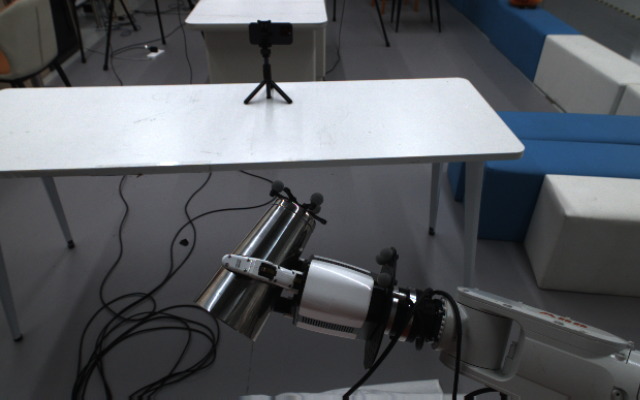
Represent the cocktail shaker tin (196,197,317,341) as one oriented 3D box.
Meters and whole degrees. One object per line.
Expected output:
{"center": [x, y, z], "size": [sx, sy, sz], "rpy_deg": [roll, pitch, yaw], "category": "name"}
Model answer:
{"center": [-0.075, 0.081, 0.628], "size": [0.093, 0.093, 0.170], "rpy_deg": [22, 67, 26], "category": "cocktail shaker tin"}
